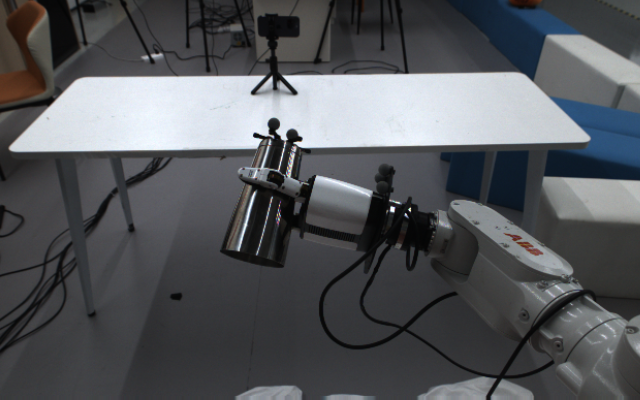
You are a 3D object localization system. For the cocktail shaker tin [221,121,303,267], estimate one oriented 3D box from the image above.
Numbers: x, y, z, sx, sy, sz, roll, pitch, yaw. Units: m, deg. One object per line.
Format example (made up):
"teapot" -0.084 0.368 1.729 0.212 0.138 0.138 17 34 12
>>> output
"cocktail shaker tin" -0.077 0.004 0.692 0.093 0.093 0.170 10 74 12
